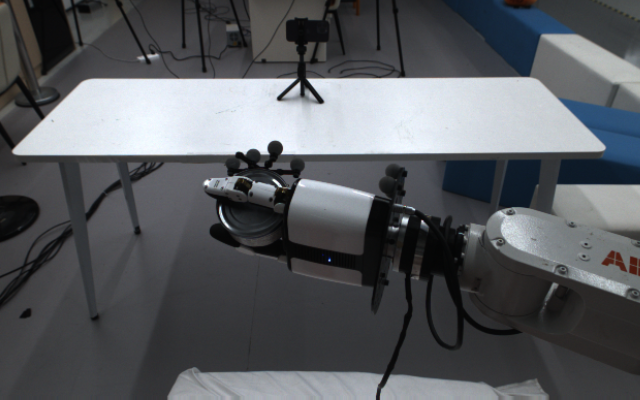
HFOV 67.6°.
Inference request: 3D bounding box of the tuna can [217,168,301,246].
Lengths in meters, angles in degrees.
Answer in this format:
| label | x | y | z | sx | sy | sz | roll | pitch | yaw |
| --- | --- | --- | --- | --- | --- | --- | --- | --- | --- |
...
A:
| label | x | y | z | sx | sy | sz | roll | pitch | yaw |
| --- | --- | --- | --- | --- | --- | --- | --- | --- | --- |
| tuna can | -0.072 | 0.009 | 0.553 | 0.085 | 0.034 | 0.085 | -4 | 61 | 7 |
